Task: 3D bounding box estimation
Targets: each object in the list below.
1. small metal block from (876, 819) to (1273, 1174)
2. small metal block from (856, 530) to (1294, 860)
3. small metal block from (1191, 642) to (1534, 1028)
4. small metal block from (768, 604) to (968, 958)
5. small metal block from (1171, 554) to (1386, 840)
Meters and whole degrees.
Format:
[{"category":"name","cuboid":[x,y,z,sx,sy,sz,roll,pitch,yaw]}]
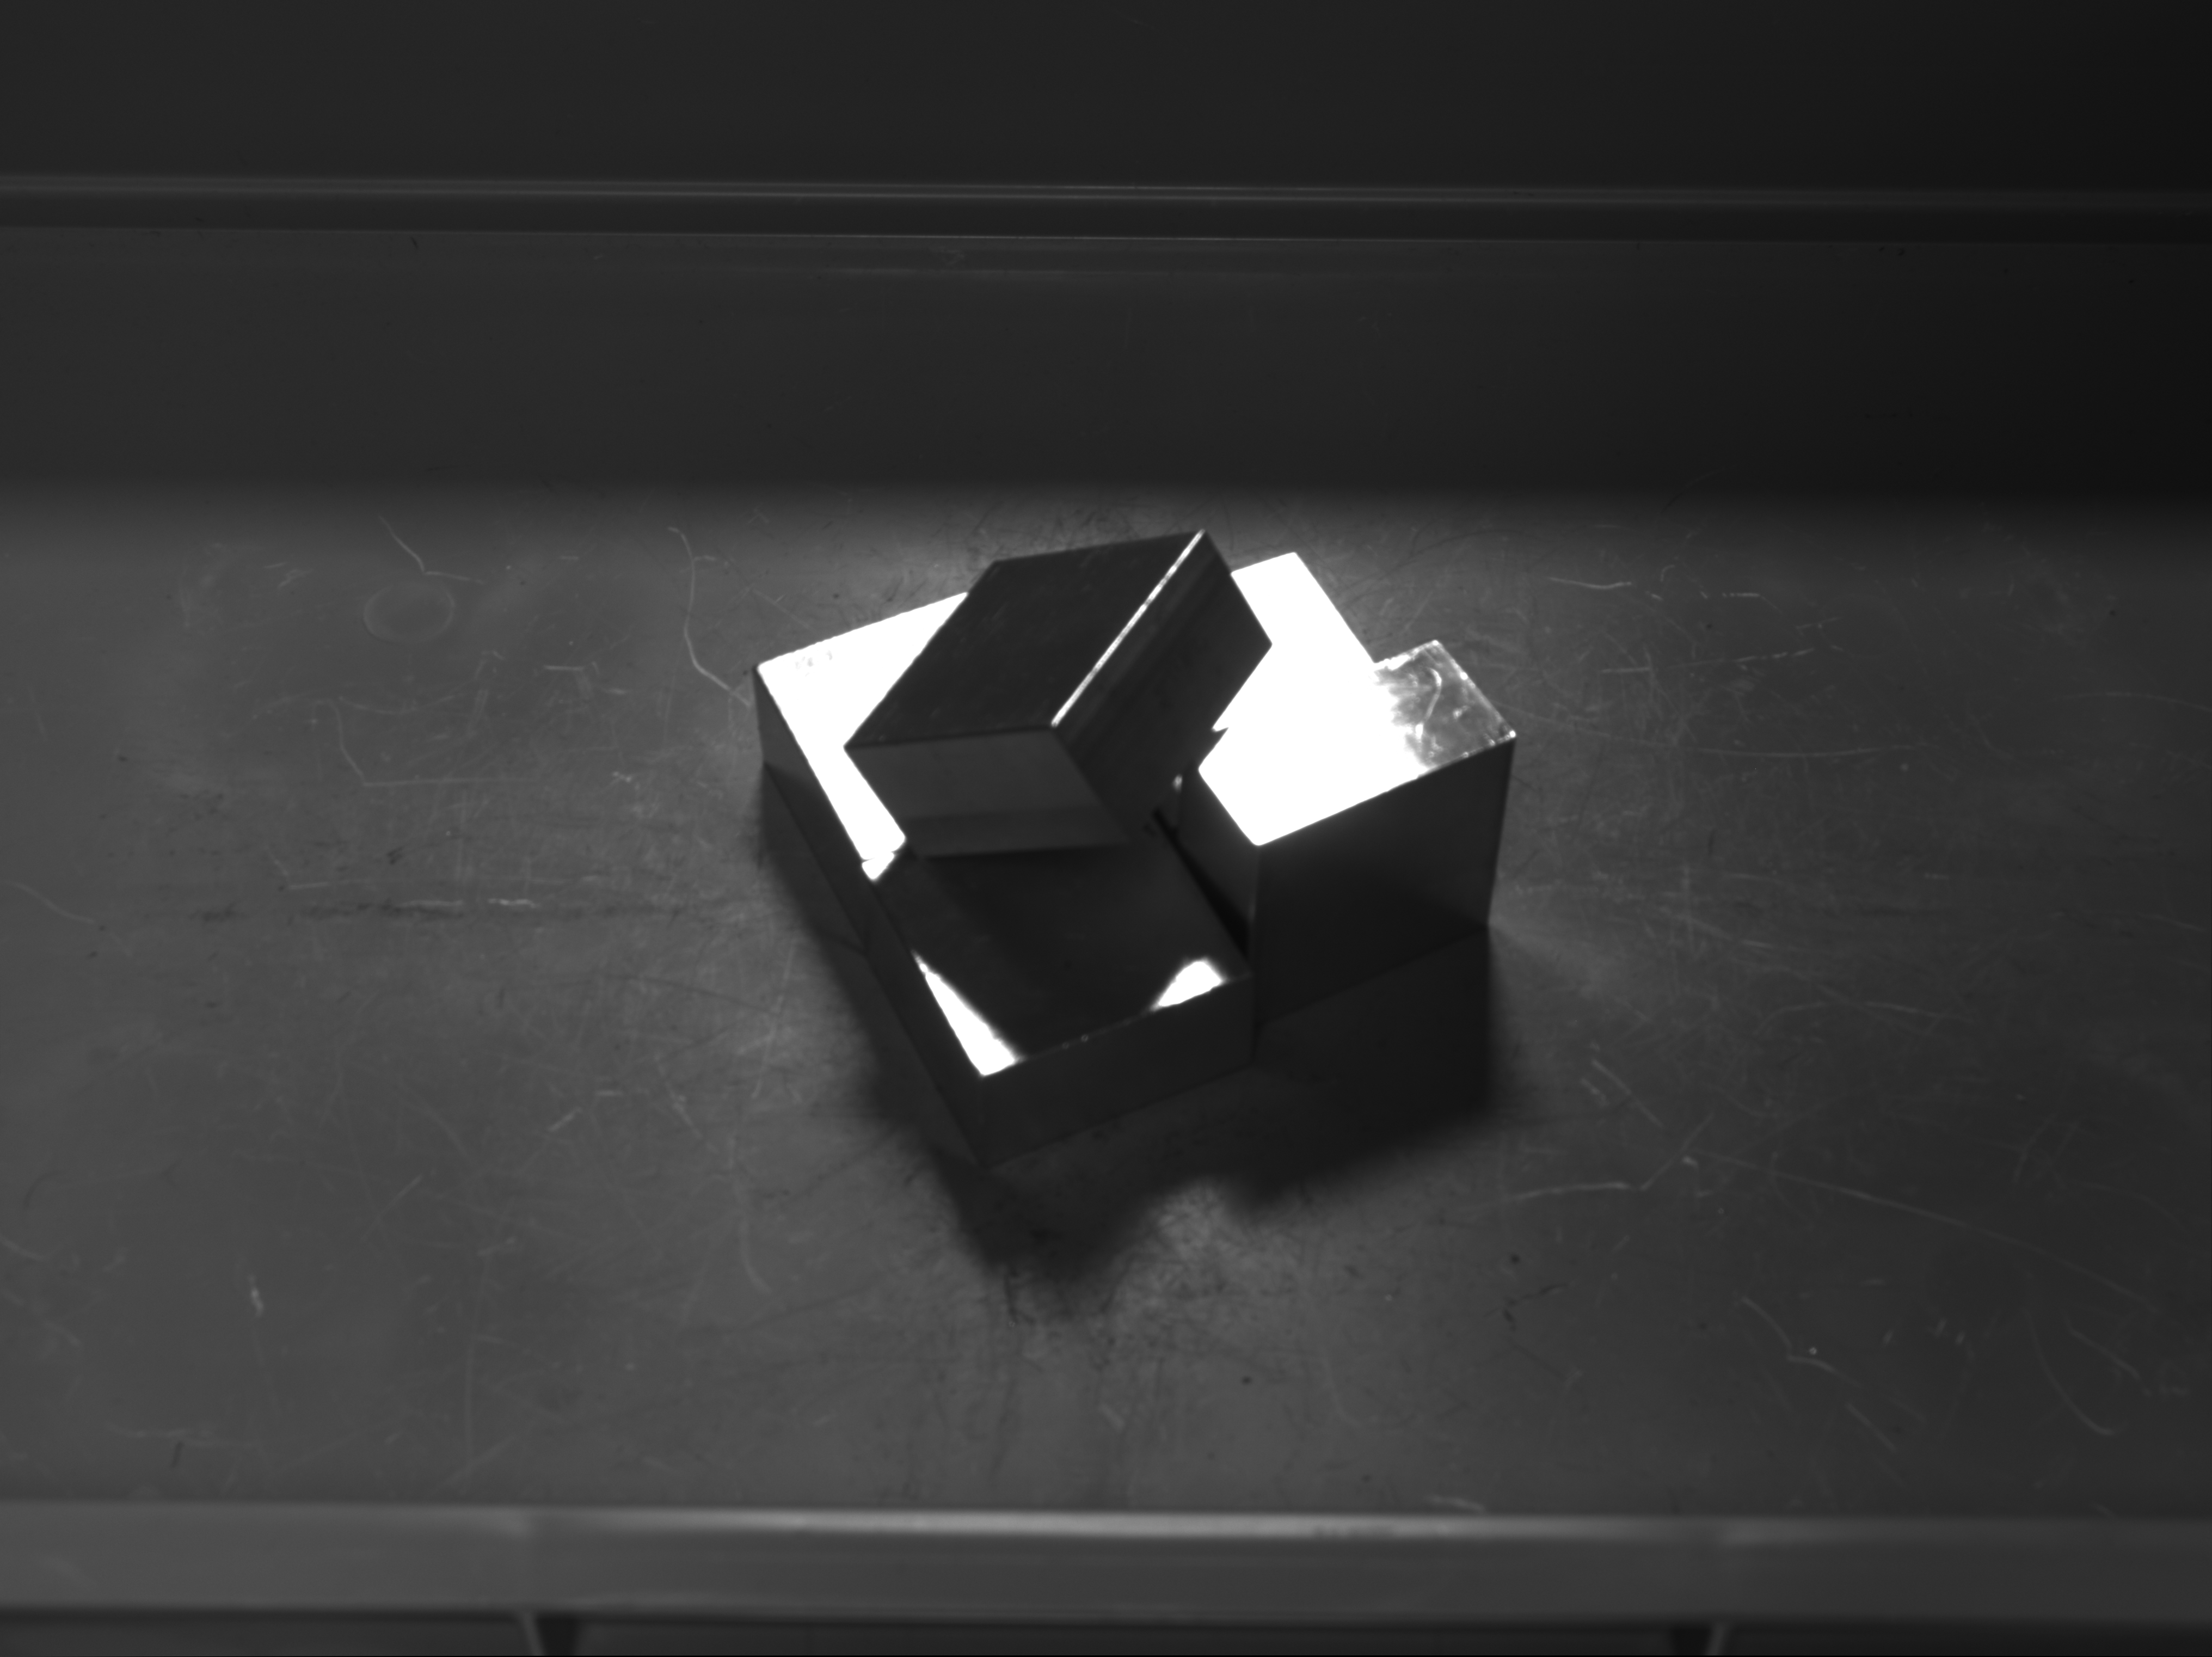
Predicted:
[{"category":"small metal block","cuboid":[-0.006,0.024,0.620,0.050,0.025,0.050,-20,53,-16]},{"category":"small metal block","cuboid":[-0.005,-0.022,0.610,0.050,0.025,0.050,-4,38,44]},{"category":"small metal block","cuboid":[0.042,0.002,0.622,0.050,0.050,0.025,-22,53,-18]},{"category":"small metal block","cuboid":[-0.027,-0.011,0.650,0.050,0.025,0.050,-20,53,-16]},{"category":"small metal block","cuboid":[0.026,-0.017,0.655,0.050,0.025,0.050,-20,53,-16]}]
